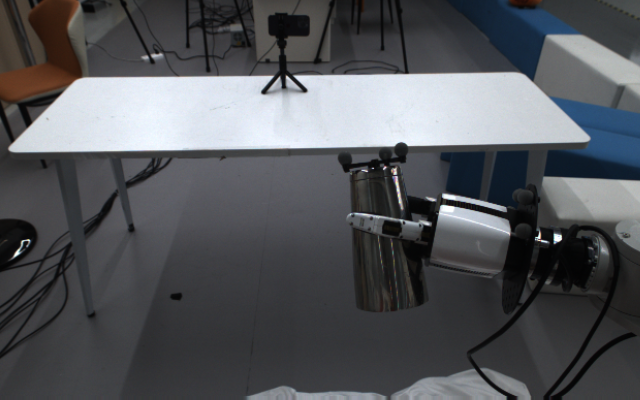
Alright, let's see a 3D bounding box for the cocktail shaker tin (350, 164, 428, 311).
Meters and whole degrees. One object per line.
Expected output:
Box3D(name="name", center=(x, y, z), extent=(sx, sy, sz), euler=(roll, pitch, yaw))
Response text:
Box3D(name="cocktail shaker tin", center=(0.081, 0.046, 0.613), extent=(0.093, 0.170, 0.093), euler=(-8, 1, 0))
